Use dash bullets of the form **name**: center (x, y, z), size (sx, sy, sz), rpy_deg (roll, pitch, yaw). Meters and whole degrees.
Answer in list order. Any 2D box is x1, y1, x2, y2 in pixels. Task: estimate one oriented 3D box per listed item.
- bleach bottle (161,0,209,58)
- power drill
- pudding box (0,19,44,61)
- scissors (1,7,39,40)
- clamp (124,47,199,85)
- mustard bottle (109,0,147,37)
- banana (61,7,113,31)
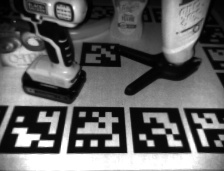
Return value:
- **bleach bottle**: center (0.151, -0.151, 0.447), size (0.103, 0.252, 0.067), rpy_deg (-17, 46, -8)
- **power drill**: center (-0.142, -0.092, 0.390), size (0.184, 0.188, 0.057), rpy_deg (10, 40, 9)
- **pudding box**: center (-0.202, -0.103, 0.501), size (0.114, 0.090, 0.038), rpy_deg (5, 40, 0)
- **scissors**: center (-0.208, -0.153, 0.459), size (0.201, 0.016, 0.088), rpy_deg (24, 54, 11)
- **clamp**: center (0.112, -0.068, 0.511), size (0.203, 0.037, 0.164), rpy_deg (-1, 49, -8)
- **mustard bottle**: center (0.044, -0.224, 0.572), size (0.096, 0.192, 0.058), rpy_deg (13, 47, 7)
- **banana**: center (-0.065, -0.194, 0.624), size (0.199, 0.039, 0.073), rpy_deg (-29, 38, -27)
